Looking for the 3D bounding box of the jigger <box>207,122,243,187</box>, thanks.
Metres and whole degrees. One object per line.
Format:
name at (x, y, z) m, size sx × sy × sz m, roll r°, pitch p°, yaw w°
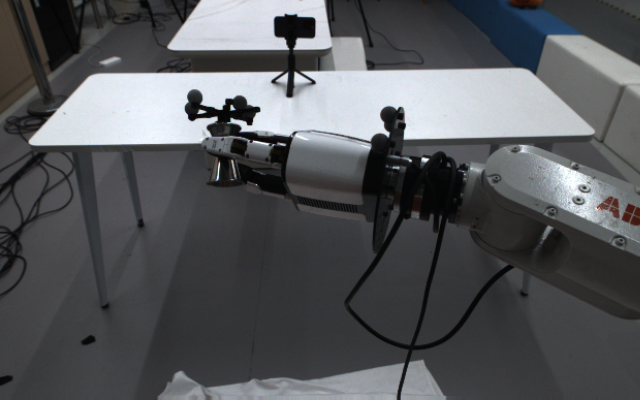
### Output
jigger at (-0.111, -0.052, 0.564) m, size 0.043 × 0.071 × 0.043 m, roll -2°, pitch -7°, yaw 0°
